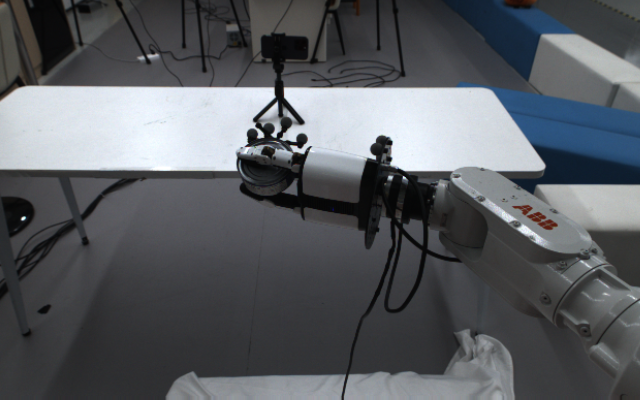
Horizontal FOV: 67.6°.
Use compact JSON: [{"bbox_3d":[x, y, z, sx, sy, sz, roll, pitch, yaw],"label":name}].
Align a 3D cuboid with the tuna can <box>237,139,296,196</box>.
[{"bbox_3d":[-0.079,-0.050,0.717,0.085,0.034,0.085,-3,57,4],"label":"tuna can"}]
